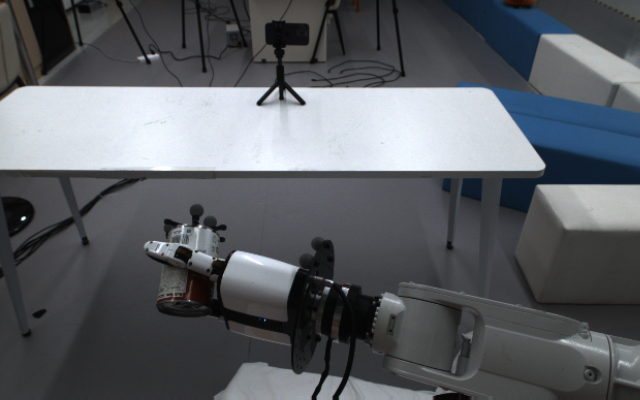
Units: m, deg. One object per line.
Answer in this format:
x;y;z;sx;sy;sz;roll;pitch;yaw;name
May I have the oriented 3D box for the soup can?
-0.163;0.090;0.610;0.067;0.067;0.101;0;61;-3;soup can
